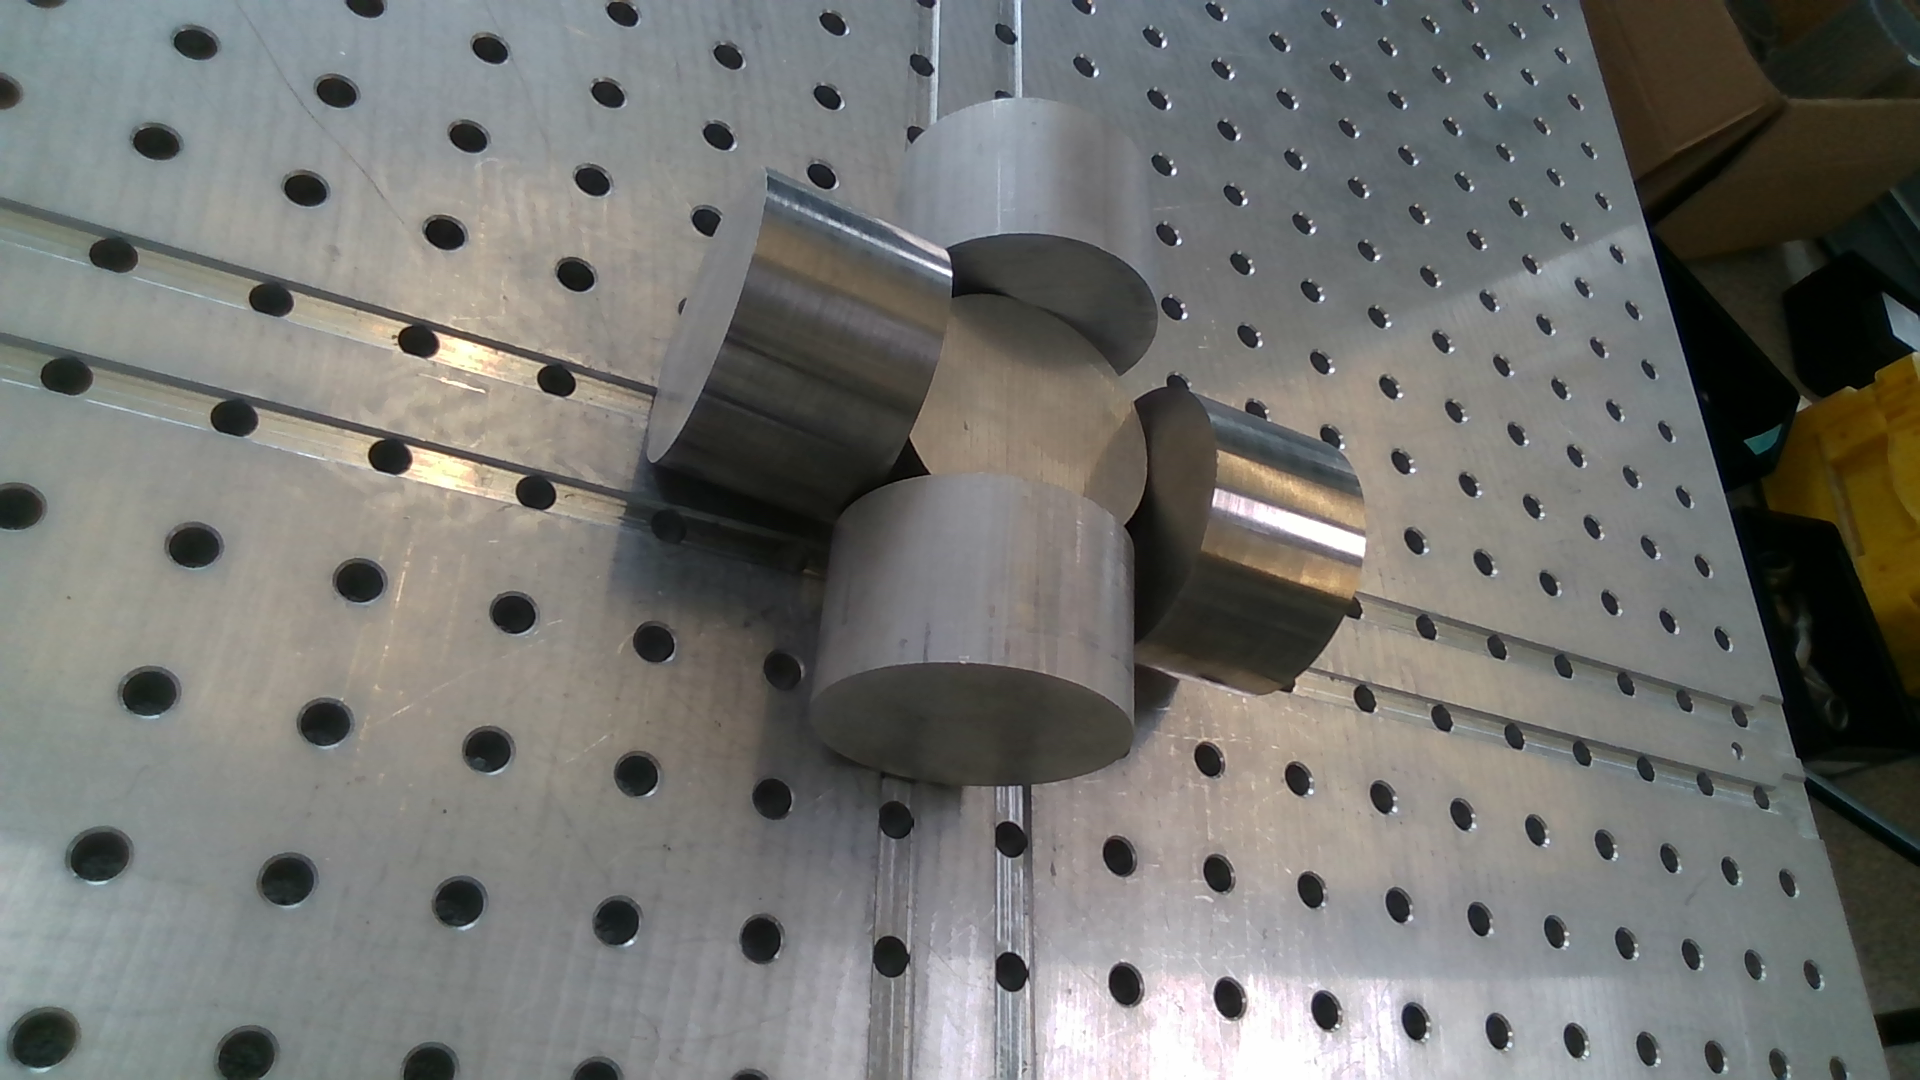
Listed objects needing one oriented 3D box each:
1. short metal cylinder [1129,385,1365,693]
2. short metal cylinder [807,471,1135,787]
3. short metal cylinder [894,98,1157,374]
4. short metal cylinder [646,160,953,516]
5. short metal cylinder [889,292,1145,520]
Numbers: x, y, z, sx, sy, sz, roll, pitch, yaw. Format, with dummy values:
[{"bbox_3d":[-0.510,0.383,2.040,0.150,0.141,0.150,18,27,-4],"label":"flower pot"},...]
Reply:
[{"bbox_3d":[0.071,0.001,0.403,0.050,0.080,0.080,17,57,-24],"label":"short metal cylinder"},{"bbox_3d":[0.004,0.025,0.350,0.080,0.080,0.050,18,58,-23],"label":"short metal cylinder"},{"bbox_3d":[0.019,-0.086,0.418,0.080,0.080,0.050,16,59,-24],"label":"short metal cylinder"},{"bbox_3d":[-0.043,-0.051,0.360,0.050,0.080,0.080,20,56,-22],"label":"short metal cylinder"},{"bbox_3d":[0.006,-0.024,0.397,0.080,0.050,0.080,14,60,-25],"label":"short metal cylinder"}]
